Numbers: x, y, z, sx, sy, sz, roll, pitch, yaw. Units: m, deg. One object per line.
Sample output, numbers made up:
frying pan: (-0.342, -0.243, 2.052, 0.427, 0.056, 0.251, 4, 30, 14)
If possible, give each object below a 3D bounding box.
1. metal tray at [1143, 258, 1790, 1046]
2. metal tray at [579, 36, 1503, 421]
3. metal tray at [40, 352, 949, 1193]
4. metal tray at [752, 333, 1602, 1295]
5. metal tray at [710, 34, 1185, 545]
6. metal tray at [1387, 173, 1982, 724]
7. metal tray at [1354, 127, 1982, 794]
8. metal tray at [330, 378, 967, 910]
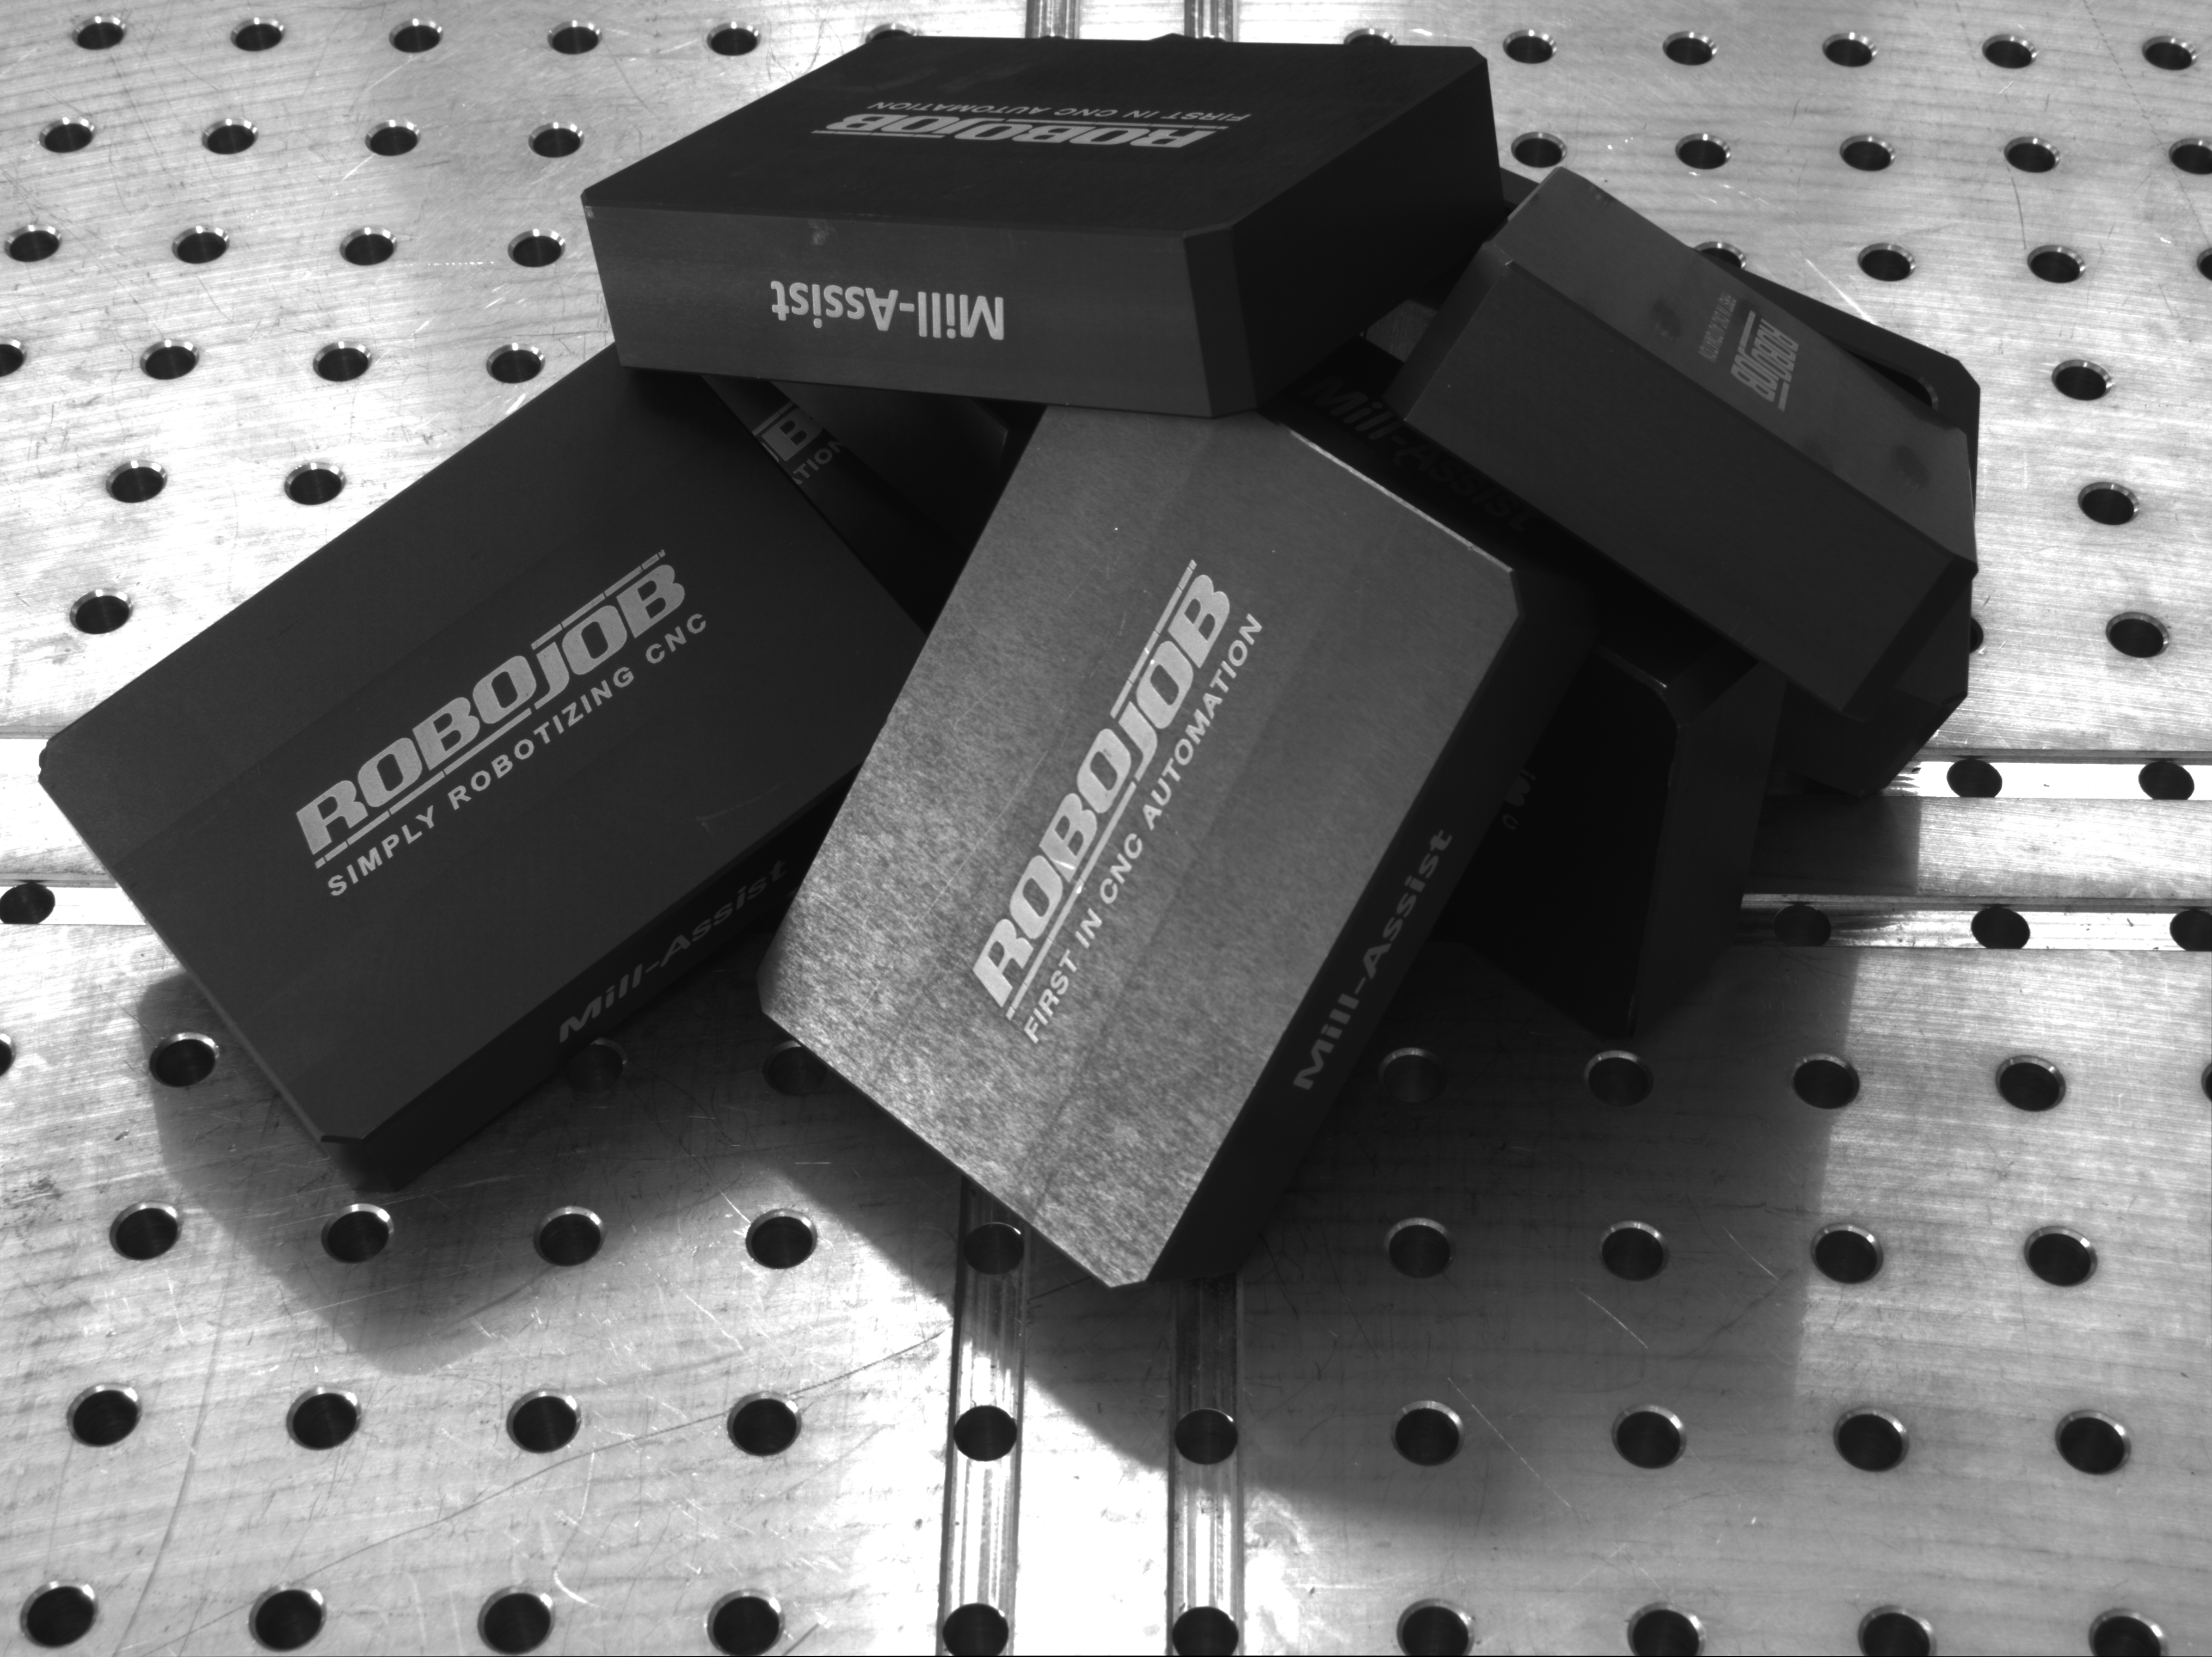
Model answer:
metal tray: (0.054, -0.031, 0.630, 0.130, 0.090, 0.030, 37, 59, 28)
metal tray: (-0.011, -0.103, 0.614, 0.130, 0.030, 0.090, 9, 33, 34)
metal tray: (-0.100, -0.012, 0.623, 0.130, 0.030, 0.090, -38, 74, -14)
metal tray: (0.009, -0.003, 0.588, 0.090, 0.130, 0.030, 36, 17, 26)
metal tray: (-0.002, -0.106, 0.707, 0.130, 0.030, 0.090, -26, 55, -38)
metal tray: (0.100, -0.068, 0.617, 0.090, 0.030, 0.130, 34, 20, 1)
metal tray: (0.094, -0.069, 0.671, 0.130, 0.030, 0.090, 21, 50, -9)
metal tray: (-0.077, -0.044, 0.679, 0.090, 0.030, 0.130, 32, 57, 24)
